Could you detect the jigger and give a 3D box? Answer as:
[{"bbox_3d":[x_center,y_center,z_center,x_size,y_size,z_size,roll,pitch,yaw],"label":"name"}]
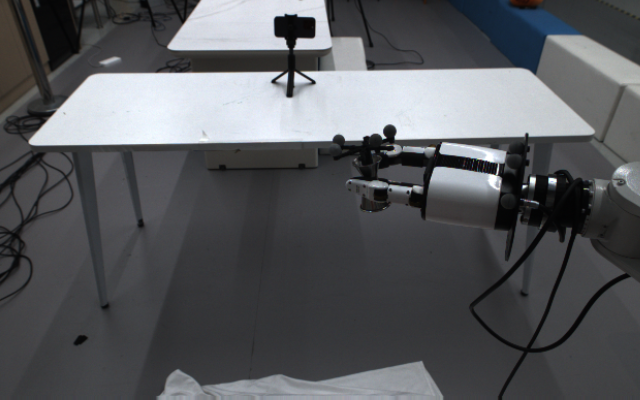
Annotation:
[{"bbox_3d":[0.070,-0.023,0.658,0.043,0.071,0.043,-12,24,5],"label":"jigger"}]
